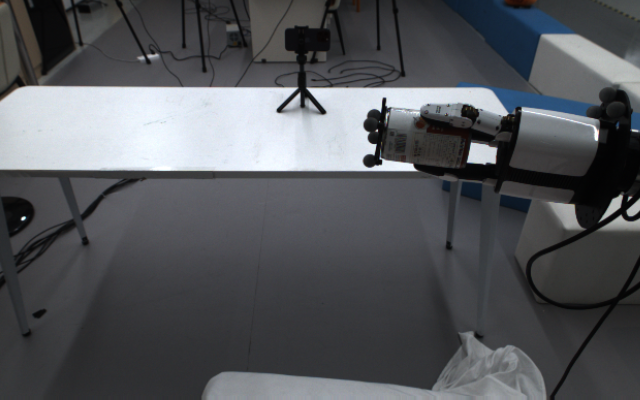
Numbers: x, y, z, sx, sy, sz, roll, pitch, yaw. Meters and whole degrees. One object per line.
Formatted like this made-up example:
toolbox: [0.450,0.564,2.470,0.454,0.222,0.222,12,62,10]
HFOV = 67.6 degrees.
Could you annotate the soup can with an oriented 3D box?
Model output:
soup can: [0.133,-0.078,0.600,0.101,0.067,0.067,8,35,9]
